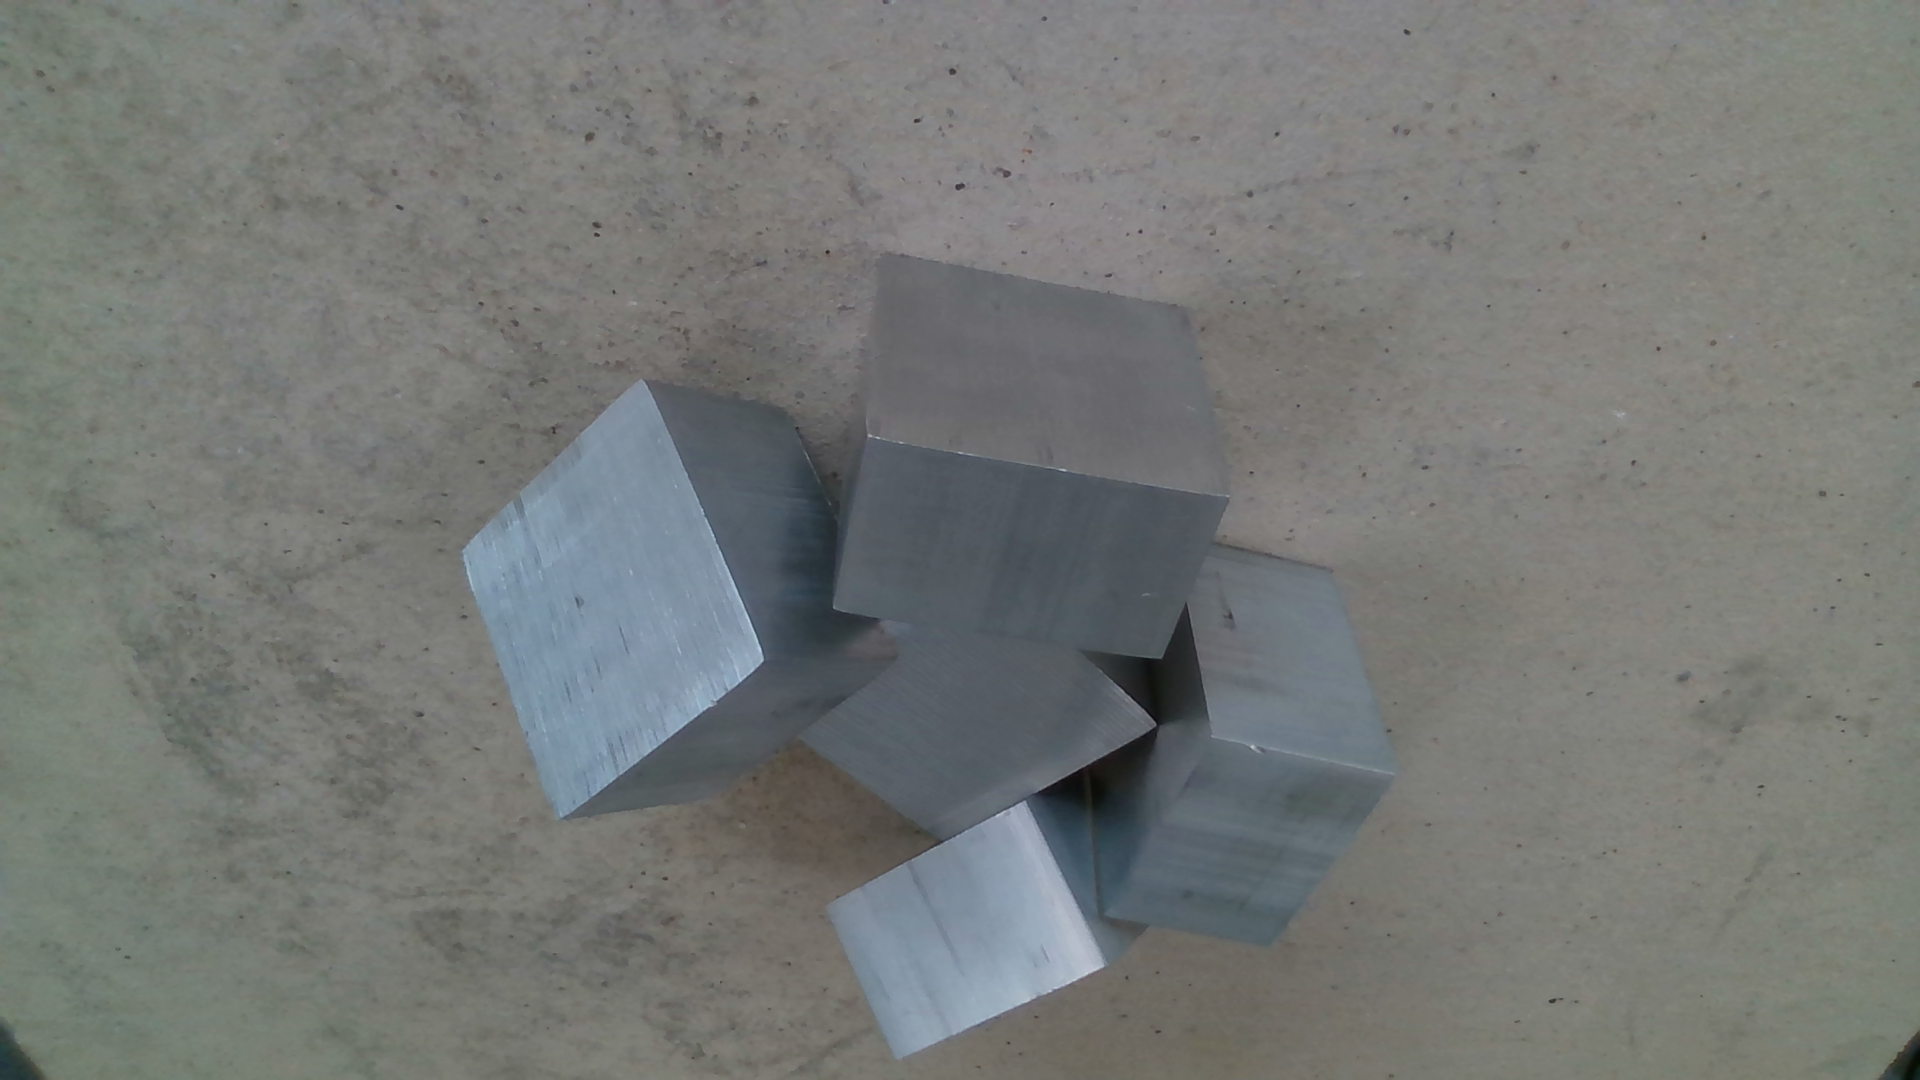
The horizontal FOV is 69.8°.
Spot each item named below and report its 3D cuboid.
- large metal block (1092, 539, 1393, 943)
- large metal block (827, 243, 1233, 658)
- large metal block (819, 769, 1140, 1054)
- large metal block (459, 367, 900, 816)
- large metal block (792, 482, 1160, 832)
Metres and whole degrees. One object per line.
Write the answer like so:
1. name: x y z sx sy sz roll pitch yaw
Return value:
1. large metal block: 0.075 0.057 0.402 0.050 0.080 0.080 12 129 -10
2. large metal block: 0.014 -0.023 0.335 0.080 0.080 0.050 10 130 -7
3. large metal block: 0.016 0.112 0.440 0.080 0.080 0.050 -32 79 24
4. large metal block: -0.075 0.015 0.358 0.080 0.080 0.050 -37 158 27
5. large metal block: -0.001 0.031 0.396 0.080 0.050 0.080 -33 123 26
